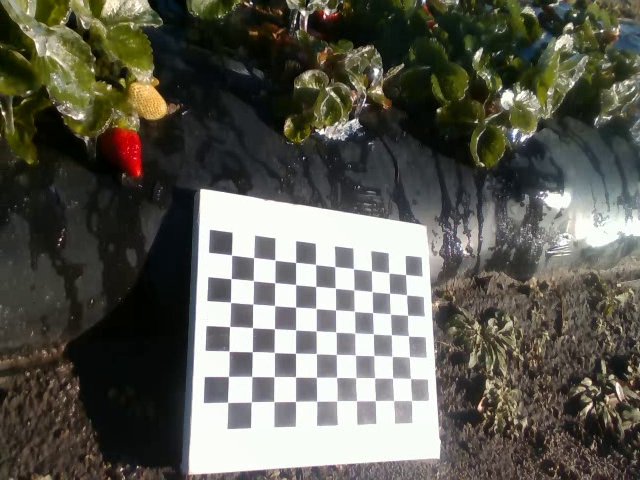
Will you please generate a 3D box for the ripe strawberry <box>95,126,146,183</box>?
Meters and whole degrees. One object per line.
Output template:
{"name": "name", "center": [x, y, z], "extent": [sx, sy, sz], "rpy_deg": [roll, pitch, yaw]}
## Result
{"name": "ripe strawberry", "center": [-0.179, -0.085, 0.562], "extent": [0.041, 0.052, 0.040], "rpy_deg": [-12, -15, -33]}
